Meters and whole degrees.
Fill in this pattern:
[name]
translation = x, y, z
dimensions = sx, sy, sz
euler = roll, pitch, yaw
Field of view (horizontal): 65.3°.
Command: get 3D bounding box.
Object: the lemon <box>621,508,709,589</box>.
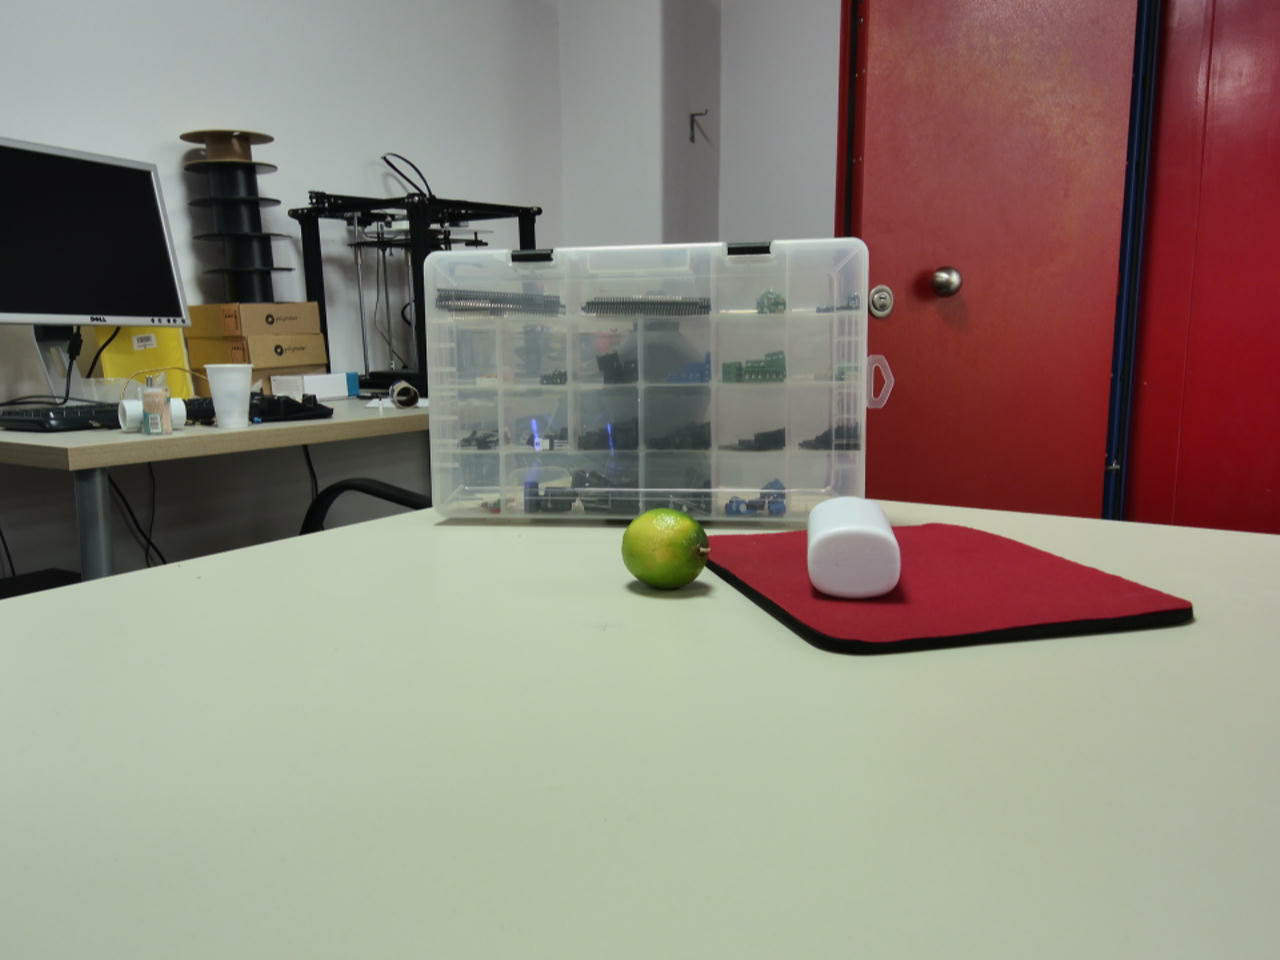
[lemon]
translation = 0.016, 0.043, 0.637
dimensions = 0.054, 0.050, 0.055
euler = -1, 7, -5
